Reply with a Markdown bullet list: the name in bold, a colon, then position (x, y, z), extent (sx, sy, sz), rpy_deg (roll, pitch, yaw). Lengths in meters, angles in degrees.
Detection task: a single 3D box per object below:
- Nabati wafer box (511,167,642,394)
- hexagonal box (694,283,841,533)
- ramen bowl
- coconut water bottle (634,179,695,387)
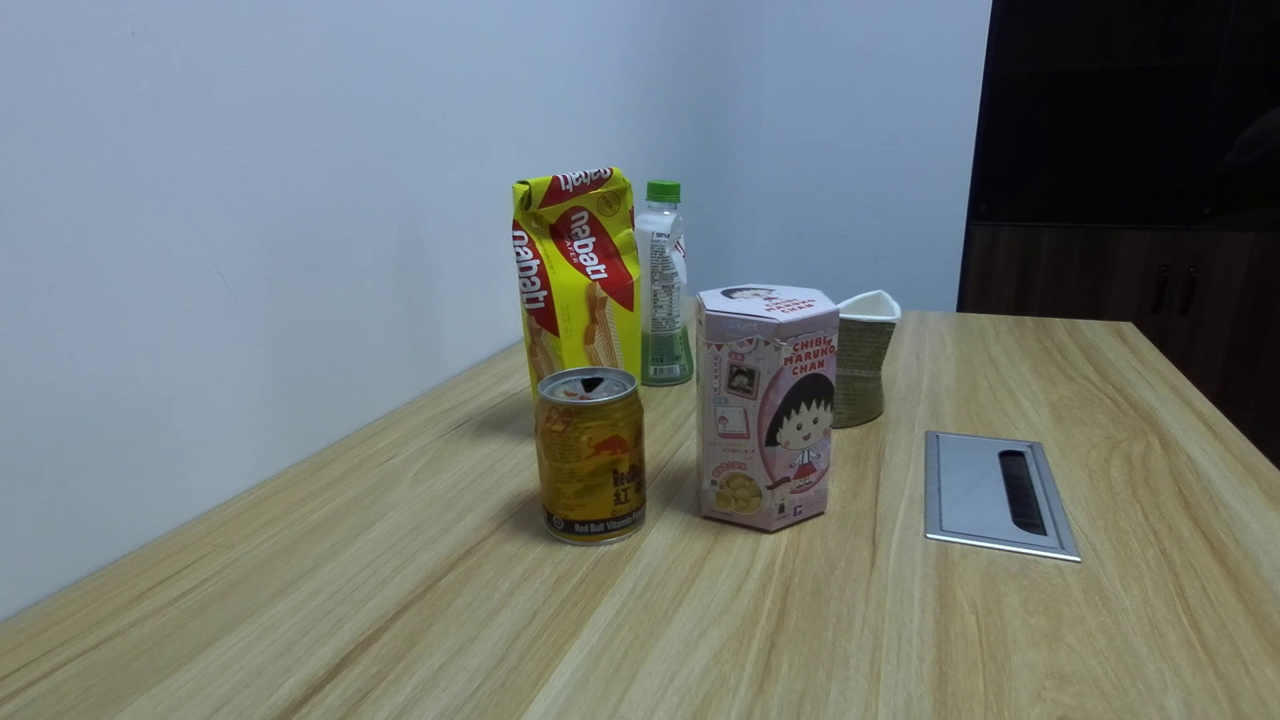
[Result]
- **Nabati wafer box**: position (-0.043, -0.042, 0.557), extent (0.042, 0.205, 0.114), rpy_deg (11, 22, 39)
- **hexagonal box**: position (0.077, 0.028, 0.444), extent (0.091, 0.136, 0.083), rpy_deg (-13, 21, -30)
- **ramen bowl**: position (0.149, -0.006, 0.607), extent (0.128, 0.093, 0.111), rpy_deg (3, 19, 8)
- **coconut water bottle**: position (0.019, -0.073, 0.666), extent (0.069, 0.187, 0.069), rpy_deg (1, 12, 0)
